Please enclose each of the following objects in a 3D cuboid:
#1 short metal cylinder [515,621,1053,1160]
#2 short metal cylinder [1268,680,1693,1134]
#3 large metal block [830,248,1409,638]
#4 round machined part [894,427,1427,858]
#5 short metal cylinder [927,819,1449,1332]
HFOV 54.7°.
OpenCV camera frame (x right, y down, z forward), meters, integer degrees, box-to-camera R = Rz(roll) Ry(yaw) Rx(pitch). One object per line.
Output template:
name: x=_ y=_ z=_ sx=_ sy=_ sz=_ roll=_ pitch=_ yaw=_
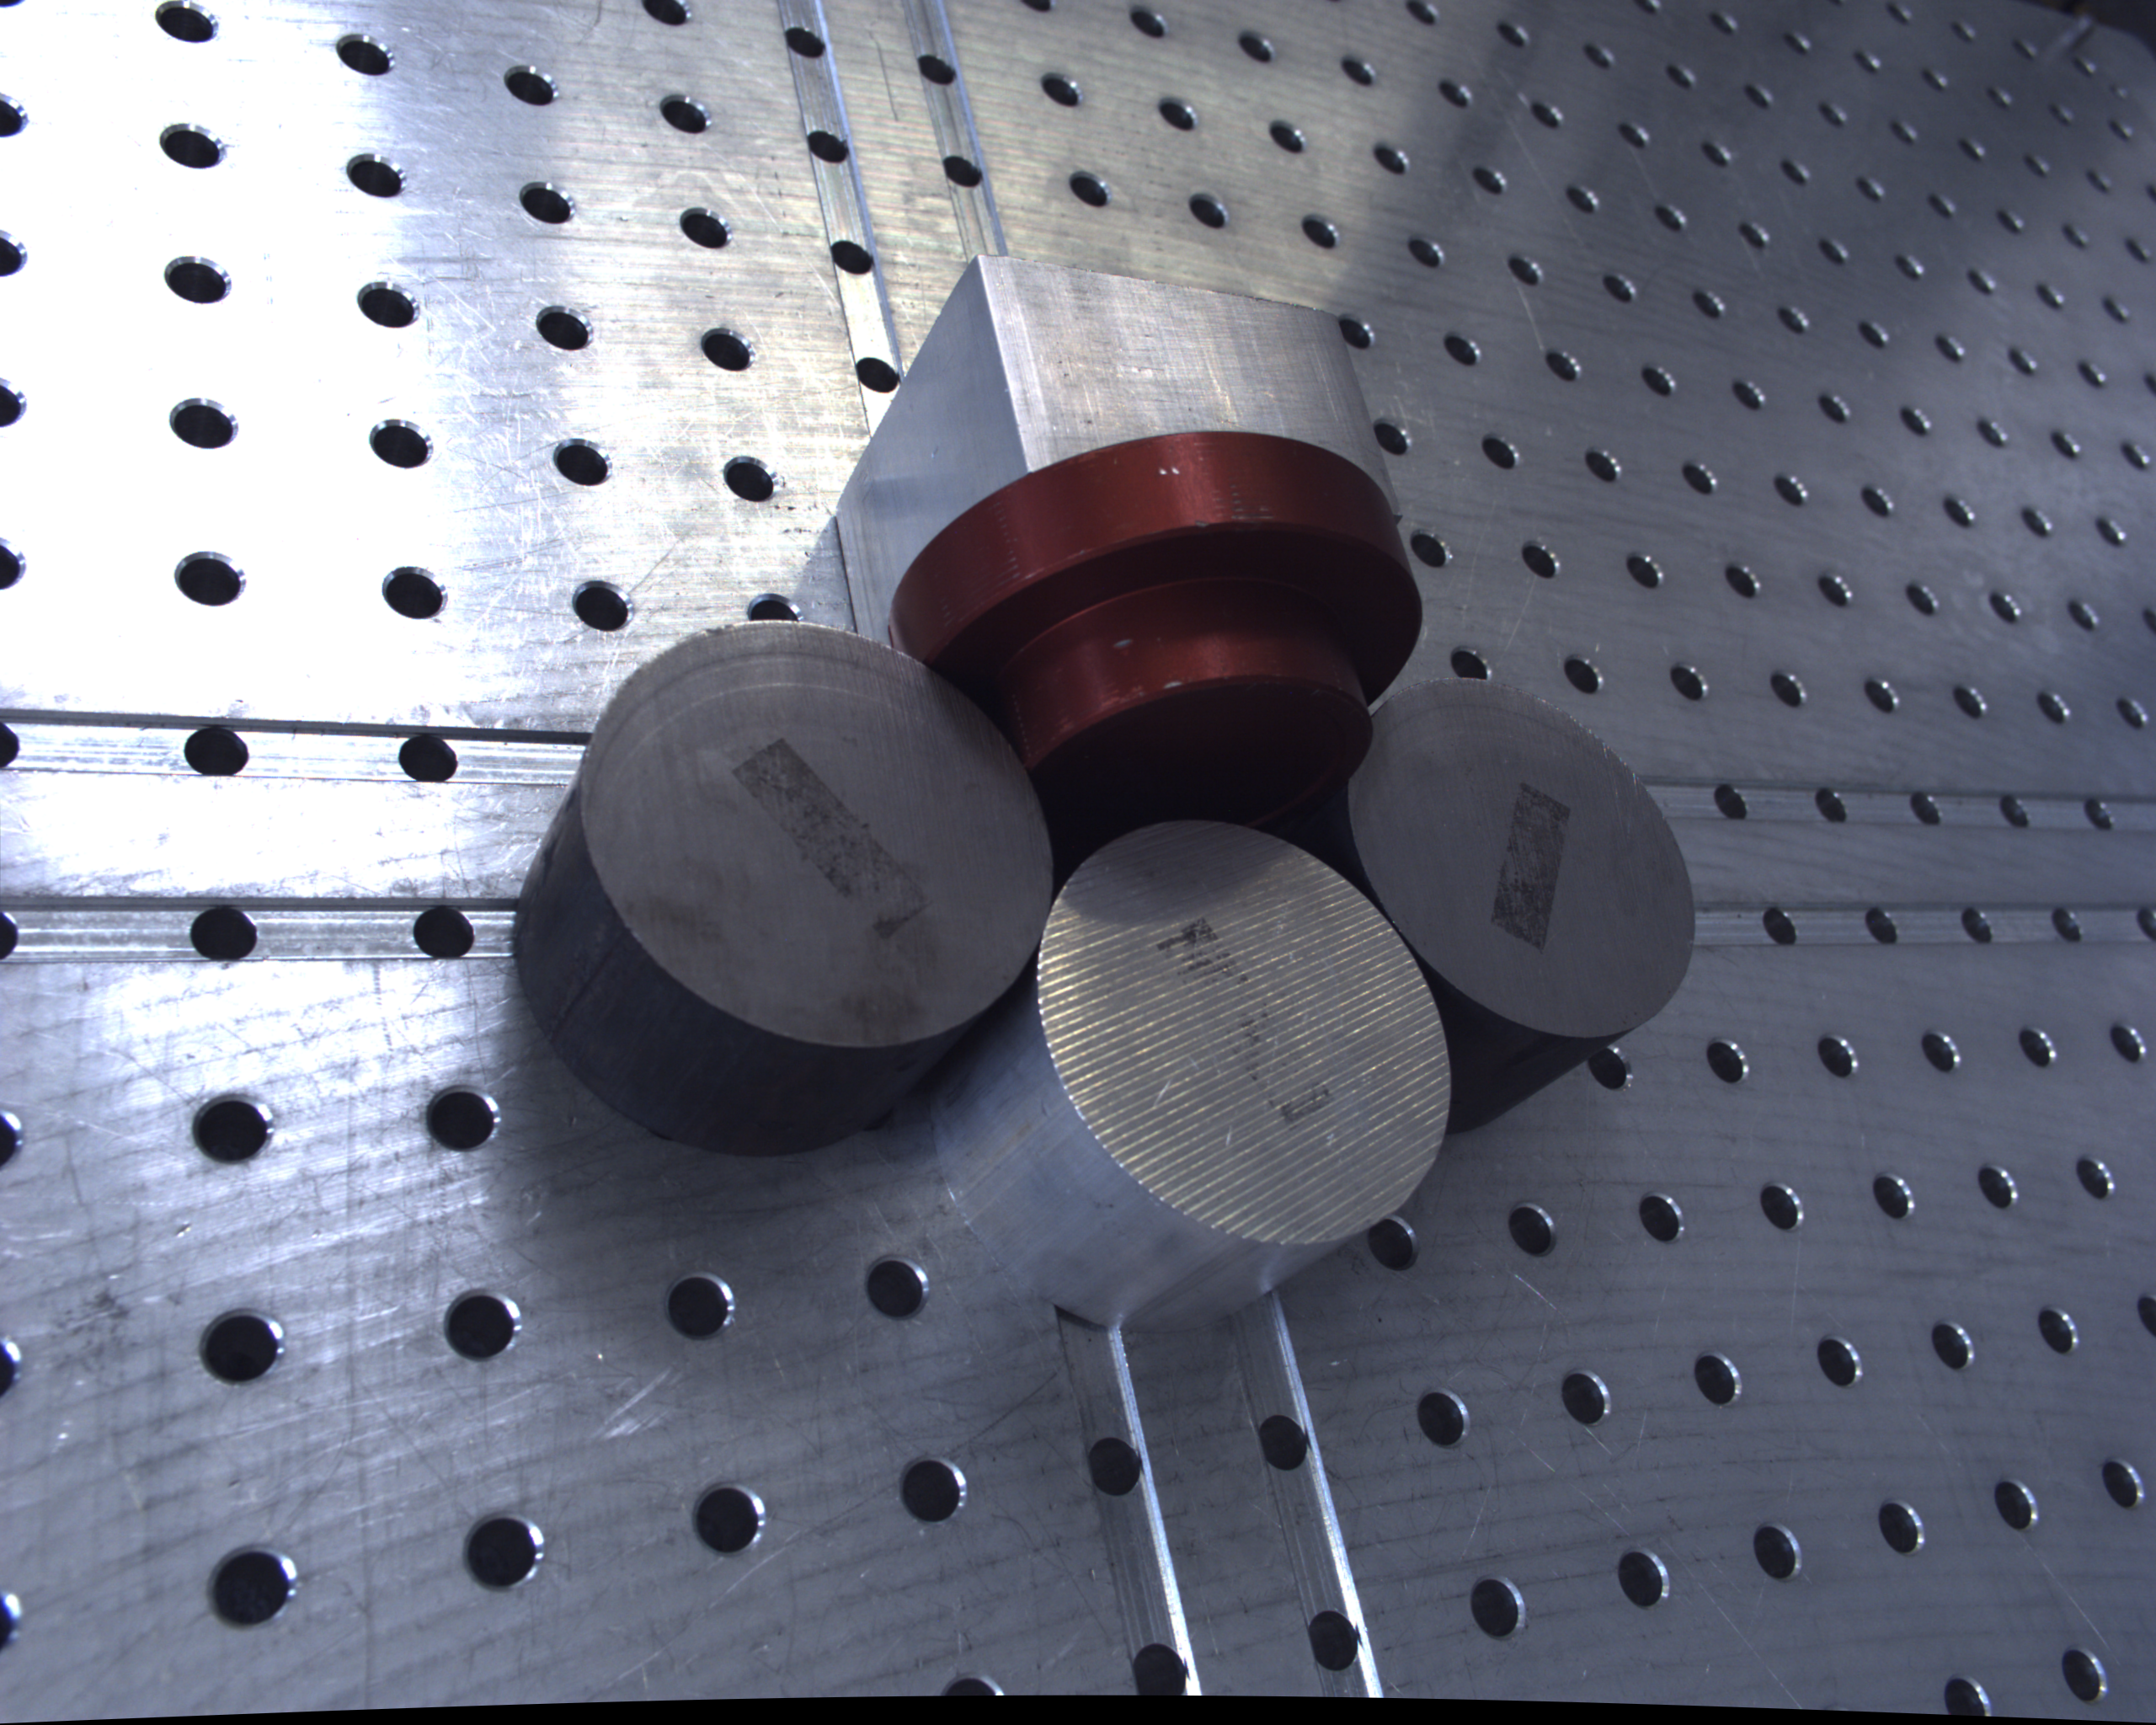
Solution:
short metal cylinder: x=-0.051 y=0.005 z=0.362 sx=0.081 sy=0.050 sz=0.080 roll=14 pitch=56 yaw=-21
short metal cylinder: x=0.077 y=0.009 z=0.428 sx=0.081 sy=0.050 sz=0.080 roll=14 pitch=56 yaw=-21
large metal block: x=0.005 y=-0.071 z=0.418 sx=0.081 sy=0.080 sz=0.050 roll=1 pitch=62 yaw=-28
round machined part: x=0.017 y=-0.034 z=0.389 sx=0.099 sy=0.097 sz=0.042 roll=2 pitch=61 yaw=-28
short metal cylinder: x=0.019 y=0.039 z=0.379 sx=0.081 sy=0.050 sz=0.080 roll=14 pitch=56 yaw=-21
